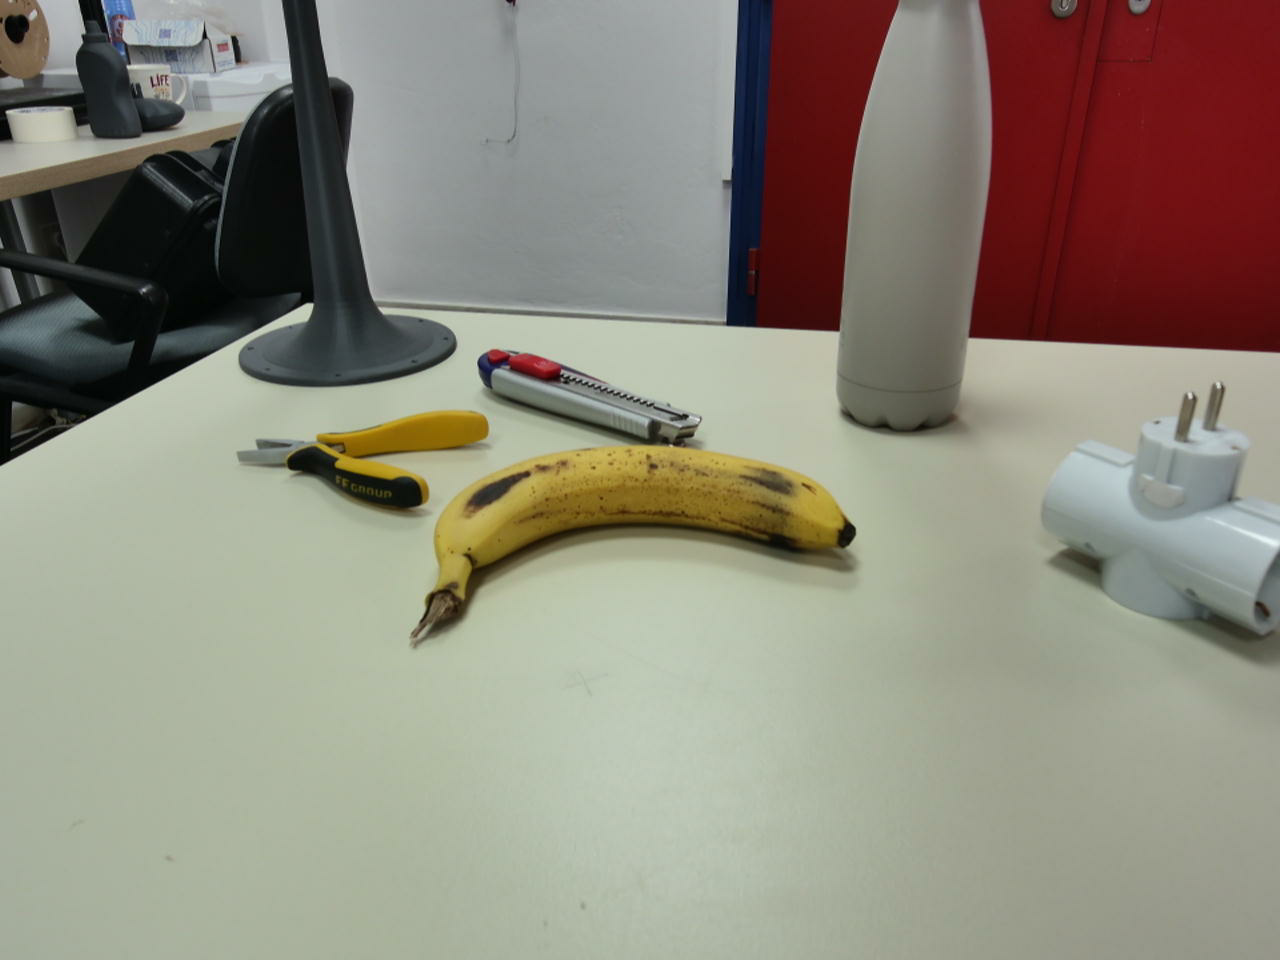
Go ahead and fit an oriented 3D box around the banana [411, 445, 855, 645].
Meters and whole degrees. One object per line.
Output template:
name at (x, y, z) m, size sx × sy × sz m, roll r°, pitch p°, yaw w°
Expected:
banana at (-0.007, 0.015, 0.450) m, size 0.186 × 0.038 × 0.097 m, roll -6°, pitch 25°, yaw -14°
